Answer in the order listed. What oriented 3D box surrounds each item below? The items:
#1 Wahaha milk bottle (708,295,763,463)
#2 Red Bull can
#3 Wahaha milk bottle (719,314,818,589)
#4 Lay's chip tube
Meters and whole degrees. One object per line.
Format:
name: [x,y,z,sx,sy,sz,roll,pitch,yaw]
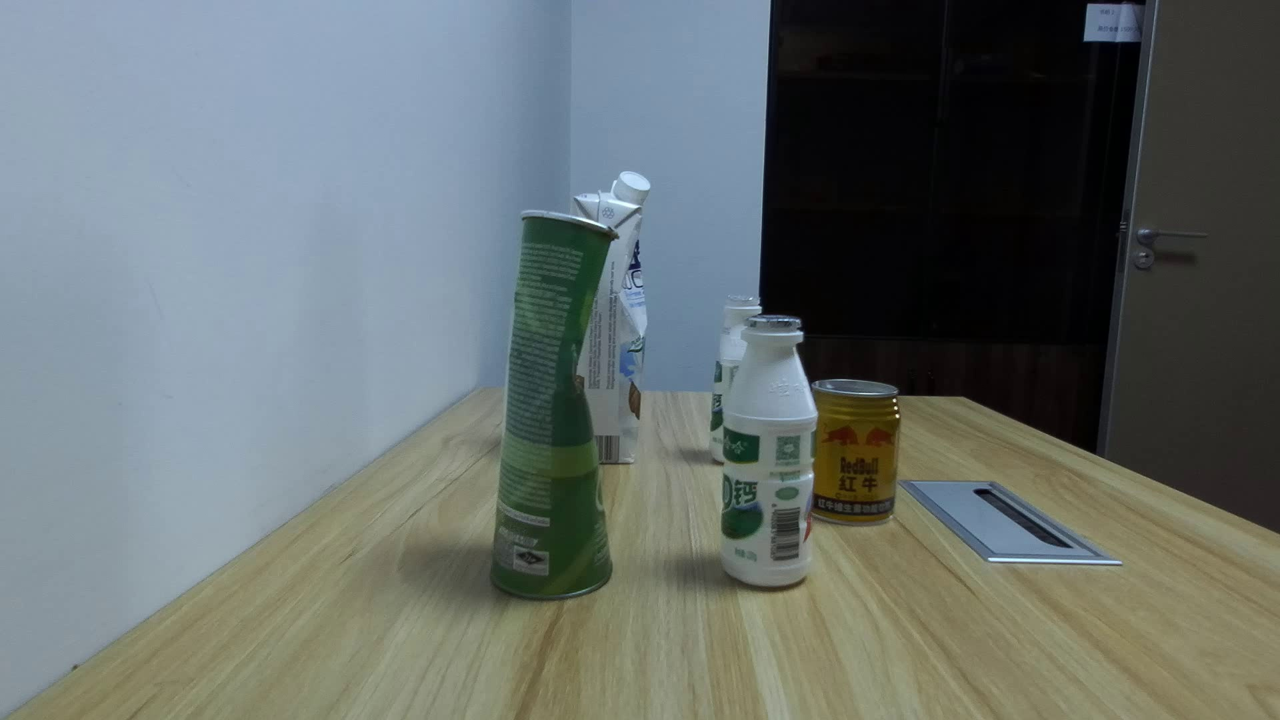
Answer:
Wahaha milk bottle: [0.093,0.017,0.636,0.055,0.149,0.055,1,17,0]
Red Bull can: [0.150,0.064,0.506,0.067,0.093,0.067,2,6,0]
Wahaha milk bottle: [0.072,0.049,0.393,0.053,0.147,0.053,1,8,0]
Lay's chip tube: [-0.049,0.023,0.385,0.077,0.201,0.069,7,10,27]
